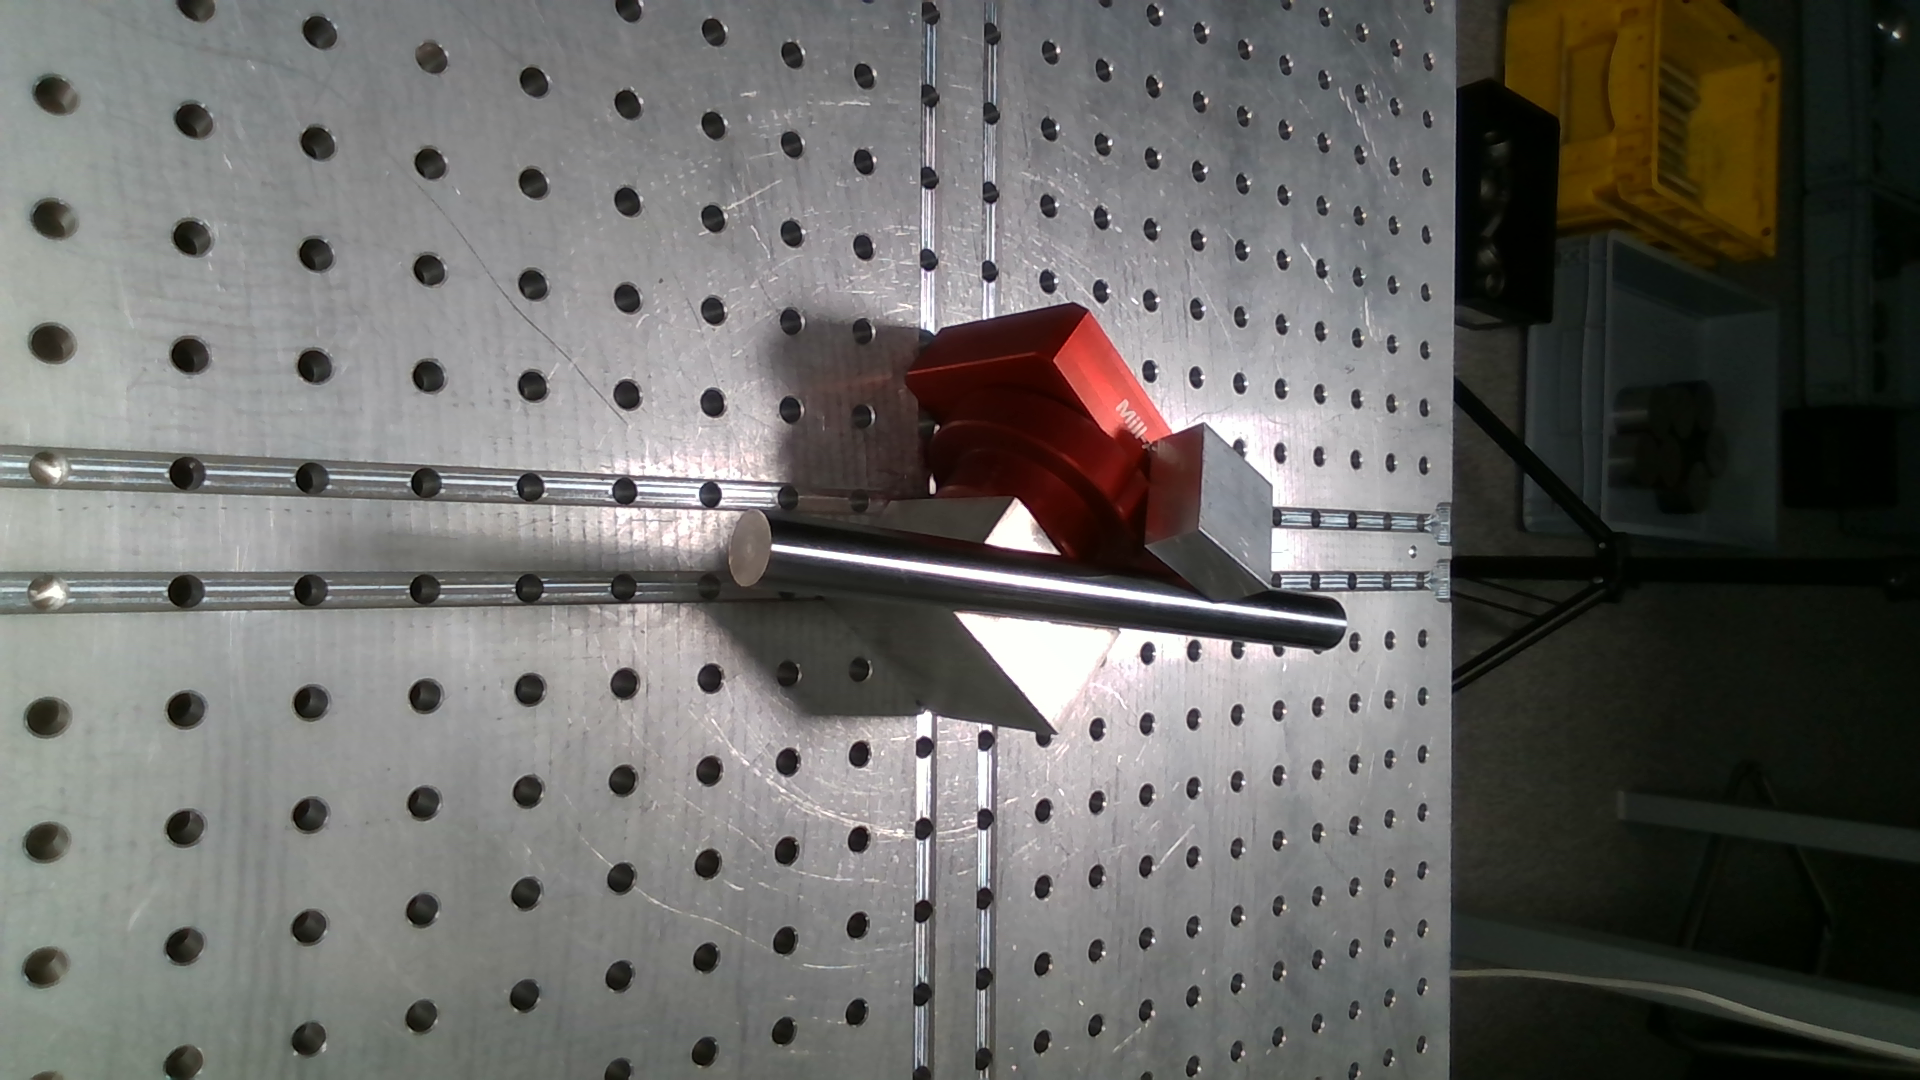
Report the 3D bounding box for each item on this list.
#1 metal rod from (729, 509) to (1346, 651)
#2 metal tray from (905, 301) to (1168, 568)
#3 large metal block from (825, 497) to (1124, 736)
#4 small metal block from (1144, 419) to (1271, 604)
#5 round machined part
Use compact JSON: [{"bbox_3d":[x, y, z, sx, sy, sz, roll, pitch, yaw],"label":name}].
[{"bbox_3d":[0.049,0.020,0.523,0.300,0.025,0.025,9,84,-40],"label":"metal rod"},{"bbox_3d":[0.046,-0.037,0.583,0.130,0.090,0.030,51,60,-28],"label":"metal tray"},{"bbox_3d":[0.004,0.030,0.550,0.080,0.080,0.050,50,60,-28],"label":"large metal block"},{"bbox_3d":[0.098,-0.011,0.542,0.050,0.025,0.050,36,49,-36],"label":"small metal block"},{"bbox_3d":[0.027,-0.015,0.566,0.098,0.098,0.042,50,60,-29],"label":"round machined part"}]
